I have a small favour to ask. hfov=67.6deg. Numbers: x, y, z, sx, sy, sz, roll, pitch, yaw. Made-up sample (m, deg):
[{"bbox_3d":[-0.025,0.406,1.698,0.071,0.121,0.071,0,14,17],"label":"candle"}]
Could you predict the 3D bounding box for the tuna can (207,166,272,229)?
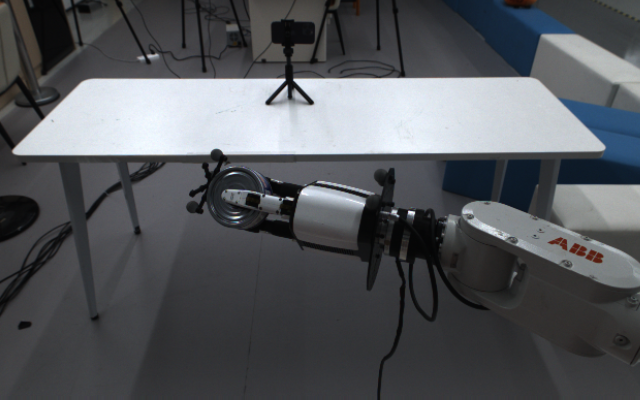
[{"bbox_3d":[-0.108,-0.005,0.658,0.085,0.085,0.034,12,-4,14],"label":"tuna can"}]
